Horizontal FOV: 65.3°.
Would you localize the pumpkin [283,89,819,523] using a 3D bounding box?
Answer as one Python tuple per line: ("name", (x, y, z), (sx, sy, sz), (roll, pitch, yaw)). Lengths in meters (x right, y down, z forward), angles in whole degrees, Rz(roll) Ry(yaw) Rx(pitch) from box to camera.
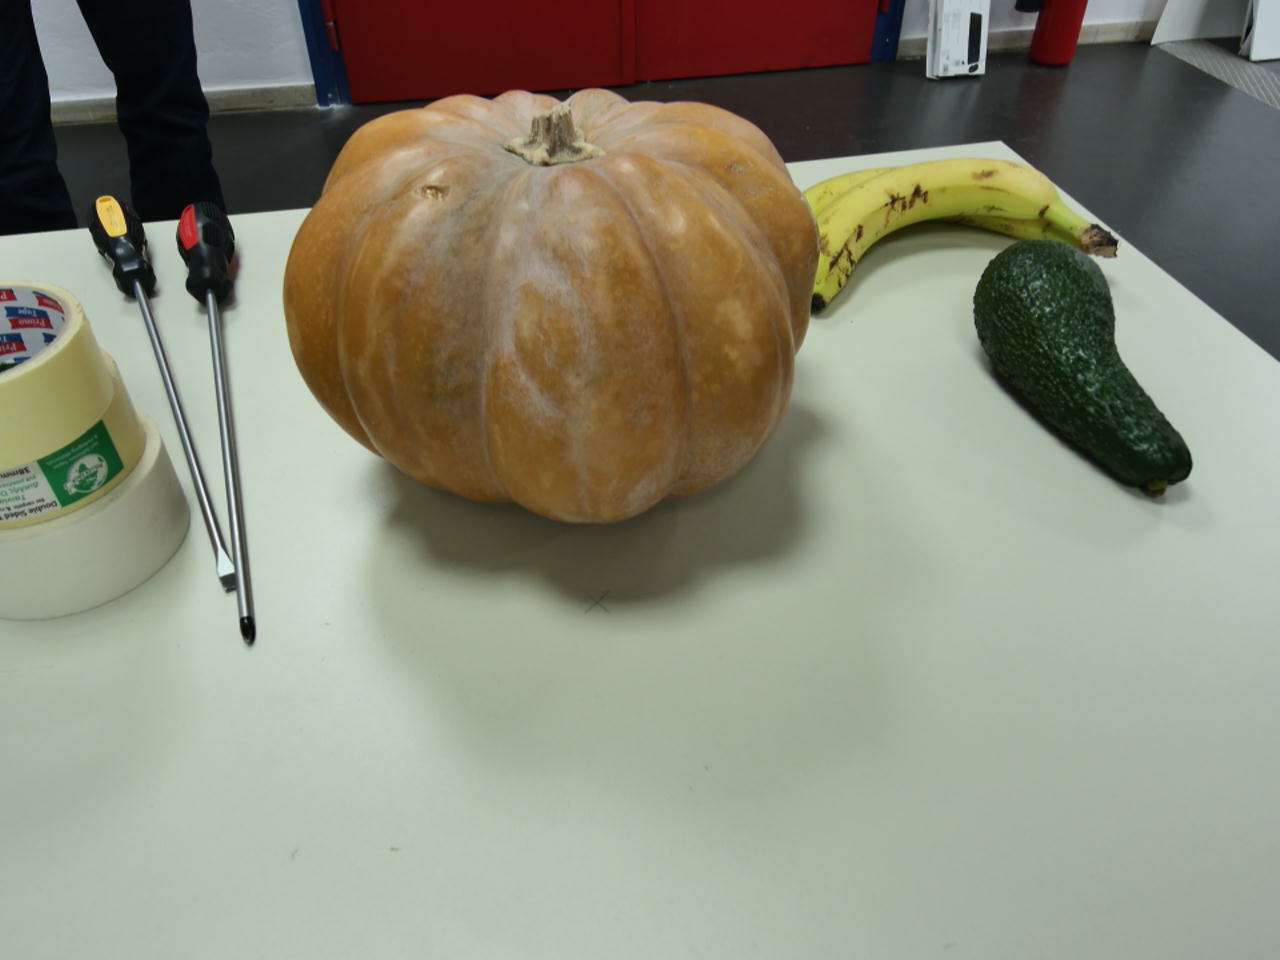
("pumpkin", (-0.039, -0.095, 0.504), (0.277, 0.181, 0.277), (0, 39, 0))
